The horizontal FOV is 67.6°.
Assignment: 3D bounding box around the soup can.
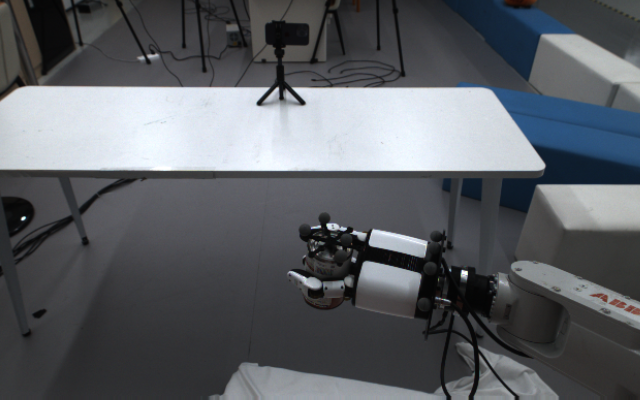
[{"bbox_3d":[0.012,0.104,0.713,0.067,0.101,0.067,5,37,-3],"label":"soup can"}]
